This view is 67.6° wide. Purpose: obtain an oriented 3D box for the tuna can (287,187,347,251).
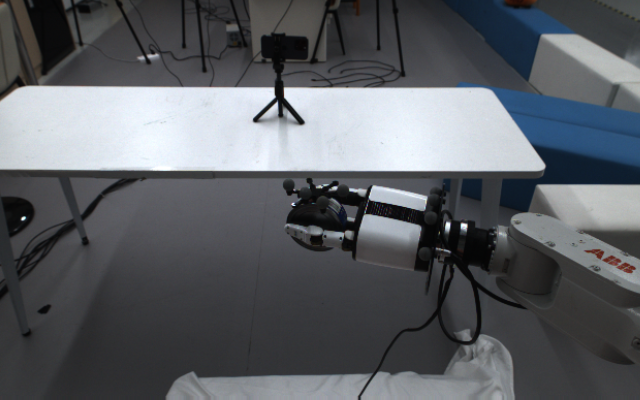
[{"bbox_3d":[-0.002,0.031,0.711,0.085,0.085,0.034,11,34,12],"label":"tuna can"}]
